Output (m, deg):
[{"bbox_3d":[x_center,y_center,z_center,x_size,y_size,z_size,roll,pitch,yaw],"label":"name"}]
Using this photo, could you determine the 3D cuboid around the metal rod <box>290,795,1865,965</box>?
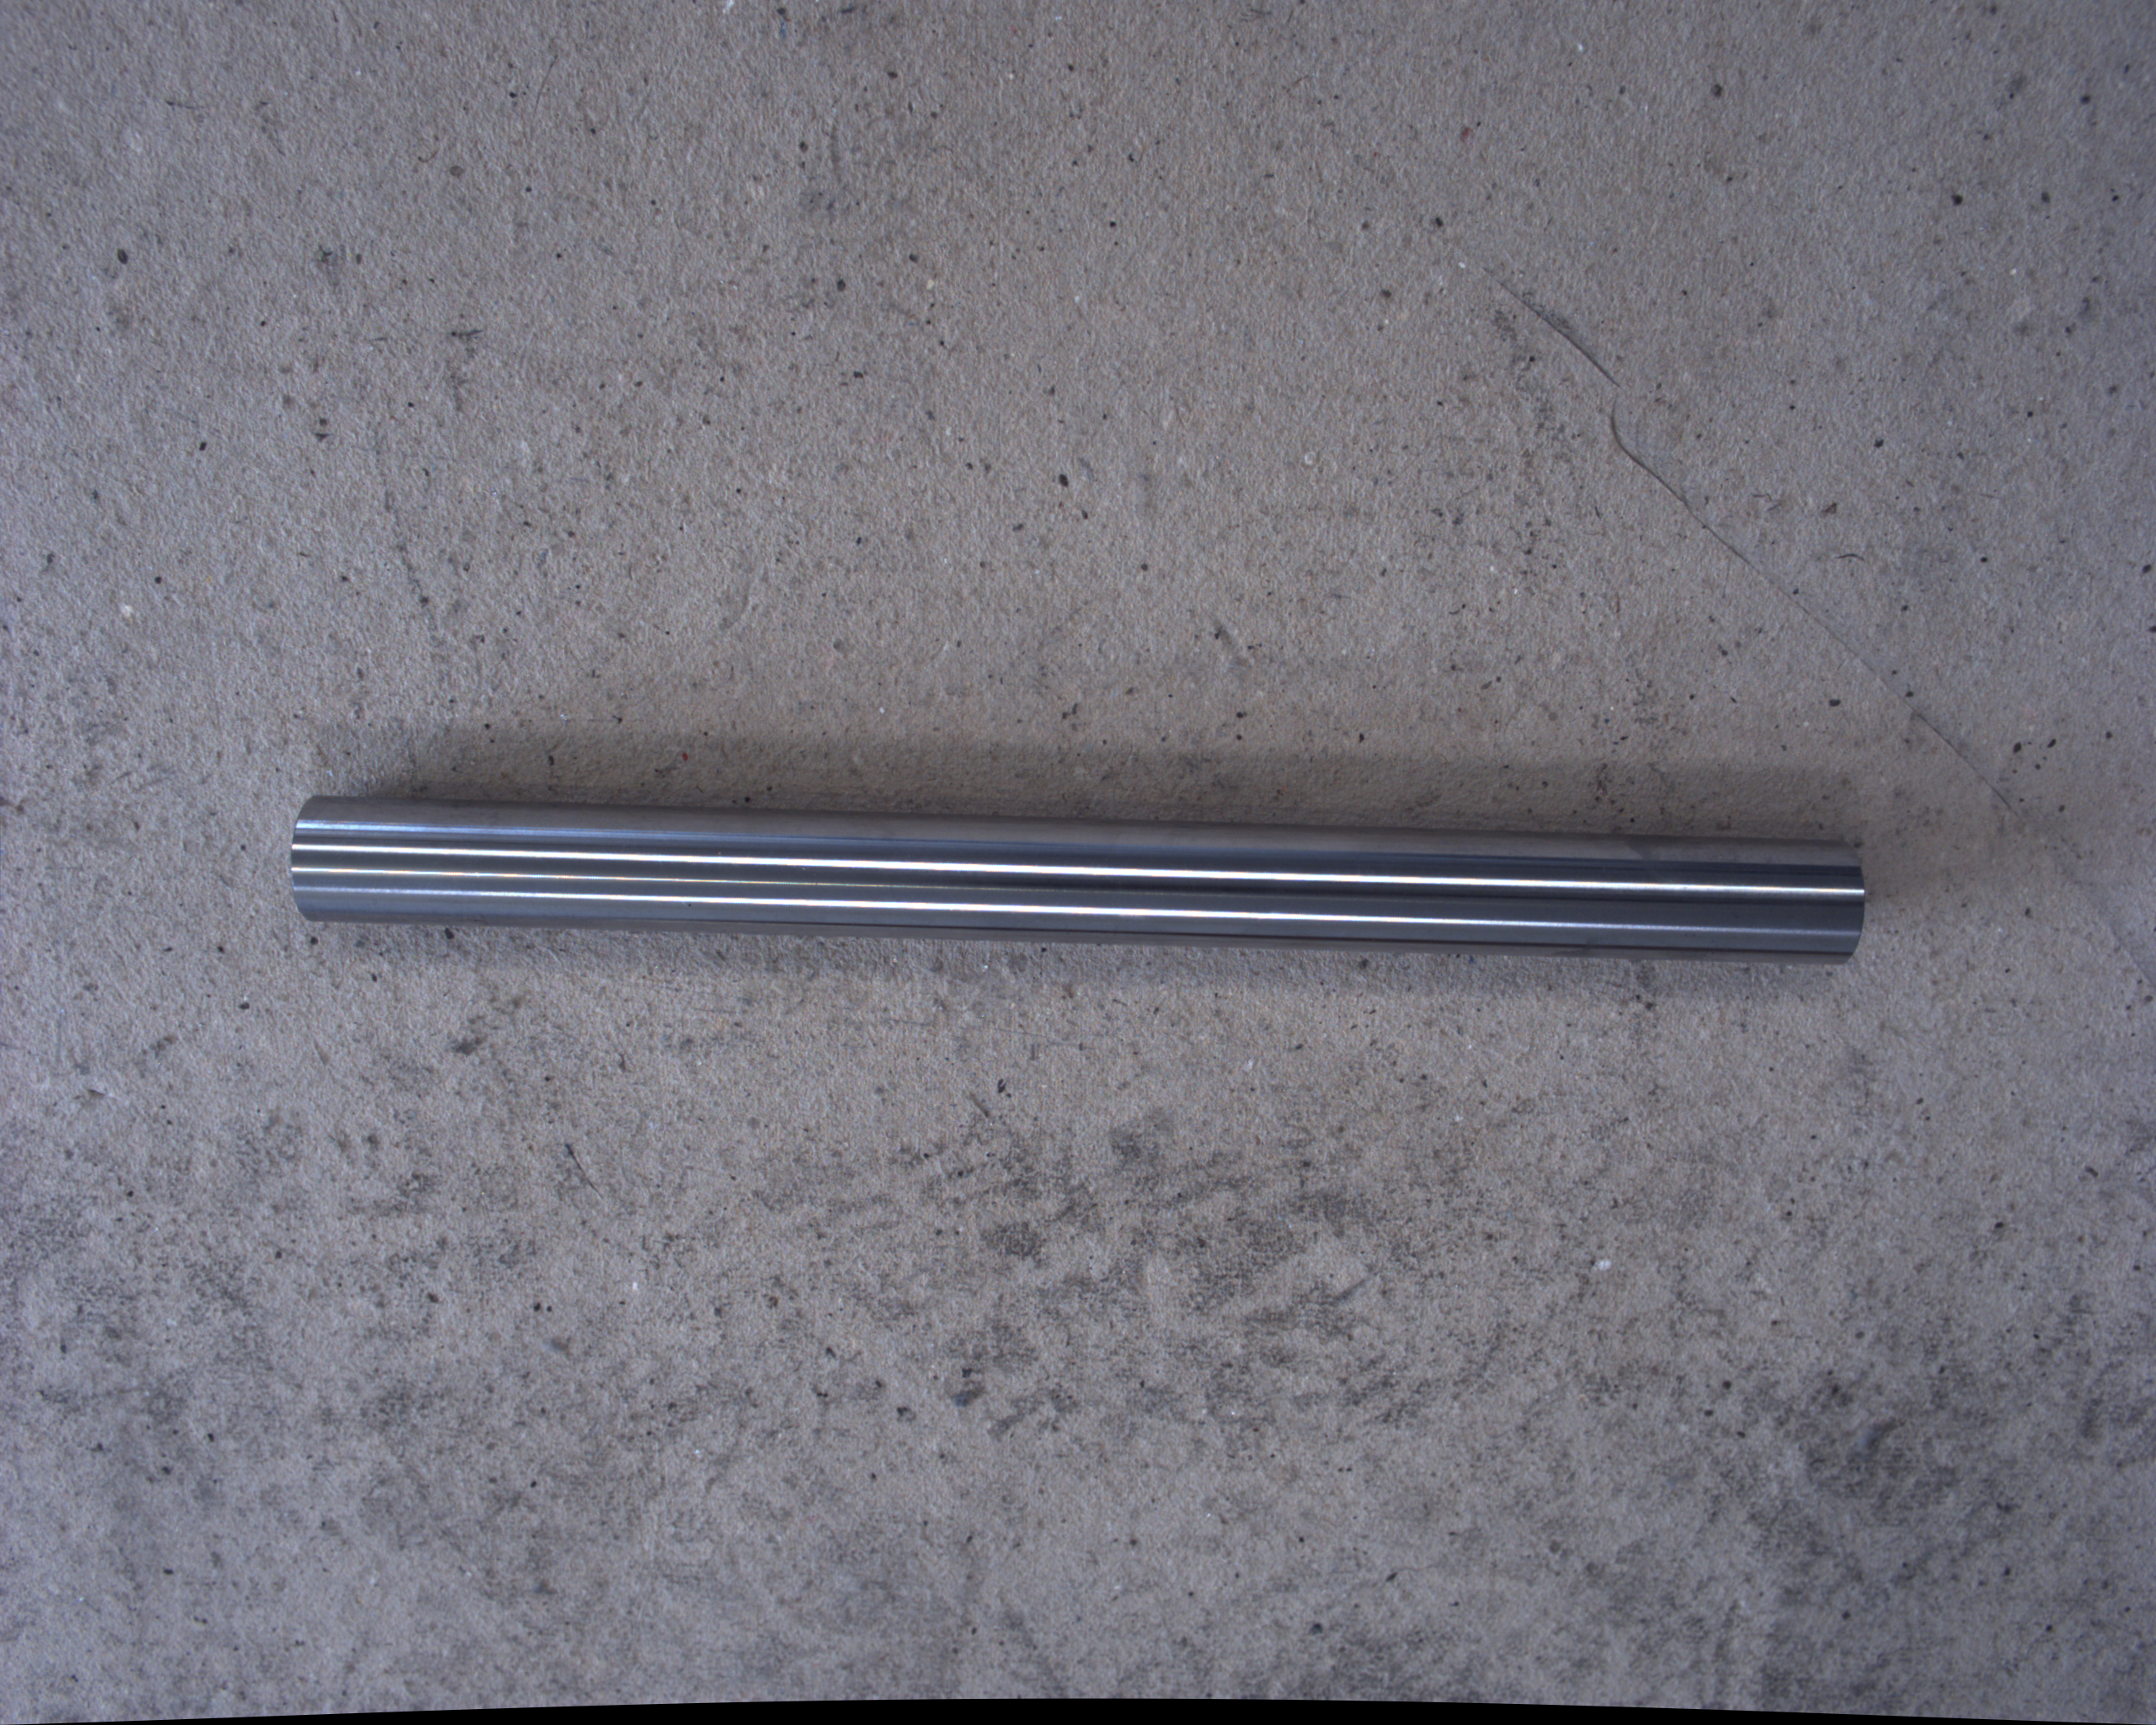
[{"bbox_3d":[0.001,0.004,0.412,0.302,0.025,0.025,2,110,-1],"label":"metal rod"}]
